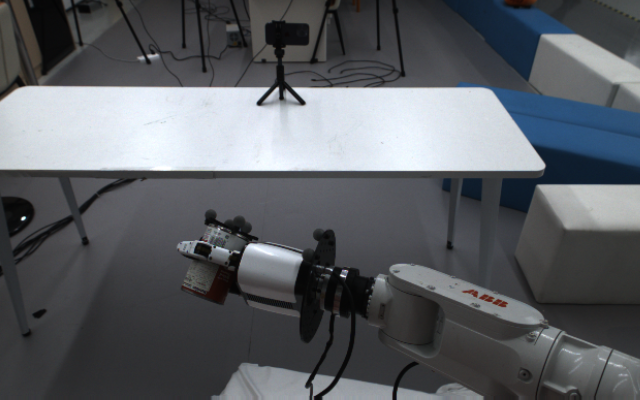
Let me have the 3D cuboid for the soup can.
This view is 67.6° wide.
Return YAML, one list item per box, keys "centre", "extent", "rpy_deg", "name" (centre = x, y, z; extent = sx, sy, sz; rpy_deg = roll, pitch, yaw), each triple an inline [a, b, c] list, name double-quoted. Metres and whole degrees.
- centre: [-0.151, 0.095, 0.704]
  extent: [0.067, 0.067, 0.101]
  rpy_deg: [16, 75, 19]
  name: "soup can"
